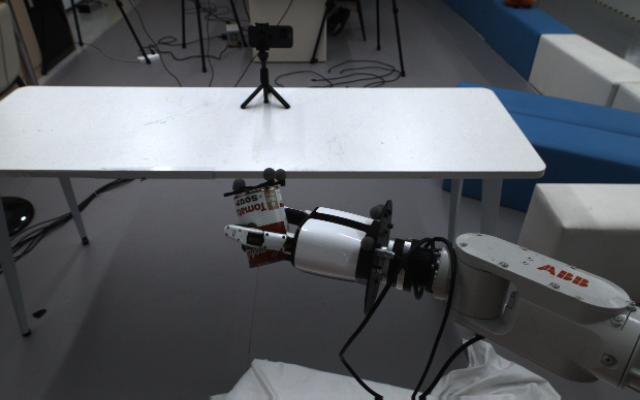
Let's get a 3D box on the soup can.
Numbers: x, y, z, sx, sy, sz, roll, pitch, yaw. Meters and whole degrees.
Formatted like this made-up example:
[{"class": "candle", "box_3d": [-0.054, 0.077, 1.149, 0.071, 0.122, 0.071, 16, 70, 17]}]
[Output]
[{"class": "soup can", "box_3d": [-0.077, 0.038, 0.678, 0.067, 0.101, 0.067, -14, -2, -1]}]
